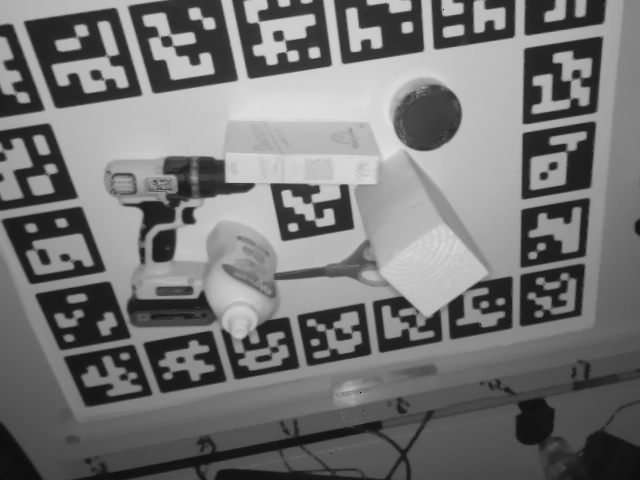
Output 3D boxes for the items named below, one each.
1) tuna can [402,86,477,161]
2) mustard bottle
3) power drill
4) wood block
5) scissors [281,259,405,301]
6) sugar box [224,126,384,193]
[{"bbox_3d":[0.141,-0.139,0.827,0.086,0.034,0.085,-3,117,-4],"label":"tuna can"},{"bbox_3d":[-0.091,0.060,0.827,0.097,0.192,0.058,37,108,-21],"label":"mustard bottle"},{"bbox_3d":[-0.150,-0.005,0.853,0.185,0.057,0.185,3,110,-8],"label":"power drill"},{"bbox_3d":[0.121,-0.005,0.811,0.090,0.207,0.090,-35,115,13],"label":"wood block"},{"bbox_3d":[0.048,0.054,0.930,0.203,0.016,0.087,-7,122,-3],"label":"scissors"},{"bbox_3d":[-0.020,-0.095,0.803,0.177,0.093,0.045,2,121,-6],"label":"sugar box"}]
